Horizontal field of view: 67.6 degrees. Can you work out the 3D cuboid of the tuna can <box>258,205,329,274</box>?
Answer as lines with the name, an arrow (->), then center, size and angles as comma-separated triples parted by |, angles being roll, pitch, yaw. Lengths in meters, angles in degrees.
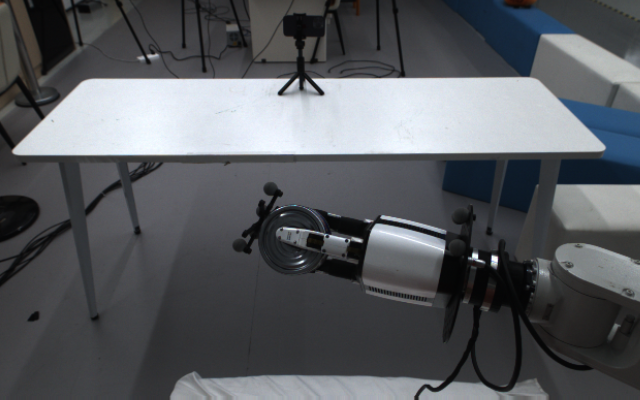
tuna can -> -0.027, 0.052, 0.585 | 0.085, 0.085, 0.034 | 9, -4, 10
